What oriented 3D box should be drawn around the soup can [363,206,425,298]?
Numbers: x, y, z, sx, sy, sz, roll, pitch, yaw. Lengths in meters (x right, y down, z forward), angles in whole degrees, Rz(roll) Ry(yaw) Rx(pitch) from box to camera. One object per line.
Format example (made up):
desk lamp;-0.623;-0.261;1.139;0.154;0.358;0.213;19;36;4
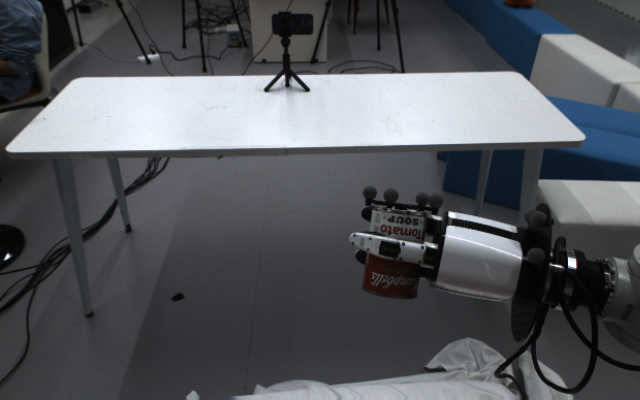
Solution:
soup can;0.092;0.061;0.583;0.067;0.101;0.067;7;3;0
